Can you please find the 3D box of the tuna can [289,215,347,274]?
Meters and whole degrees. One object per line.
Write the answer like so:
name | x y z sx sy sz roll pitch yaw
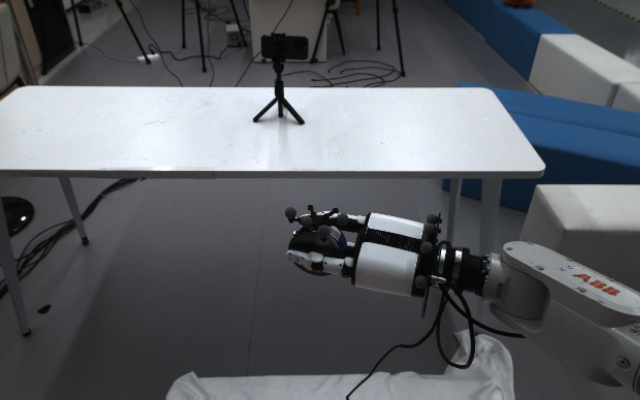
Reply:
tuna can | -0.001 0.072 0.740 0.085 0.085 0.034 11 34 12
